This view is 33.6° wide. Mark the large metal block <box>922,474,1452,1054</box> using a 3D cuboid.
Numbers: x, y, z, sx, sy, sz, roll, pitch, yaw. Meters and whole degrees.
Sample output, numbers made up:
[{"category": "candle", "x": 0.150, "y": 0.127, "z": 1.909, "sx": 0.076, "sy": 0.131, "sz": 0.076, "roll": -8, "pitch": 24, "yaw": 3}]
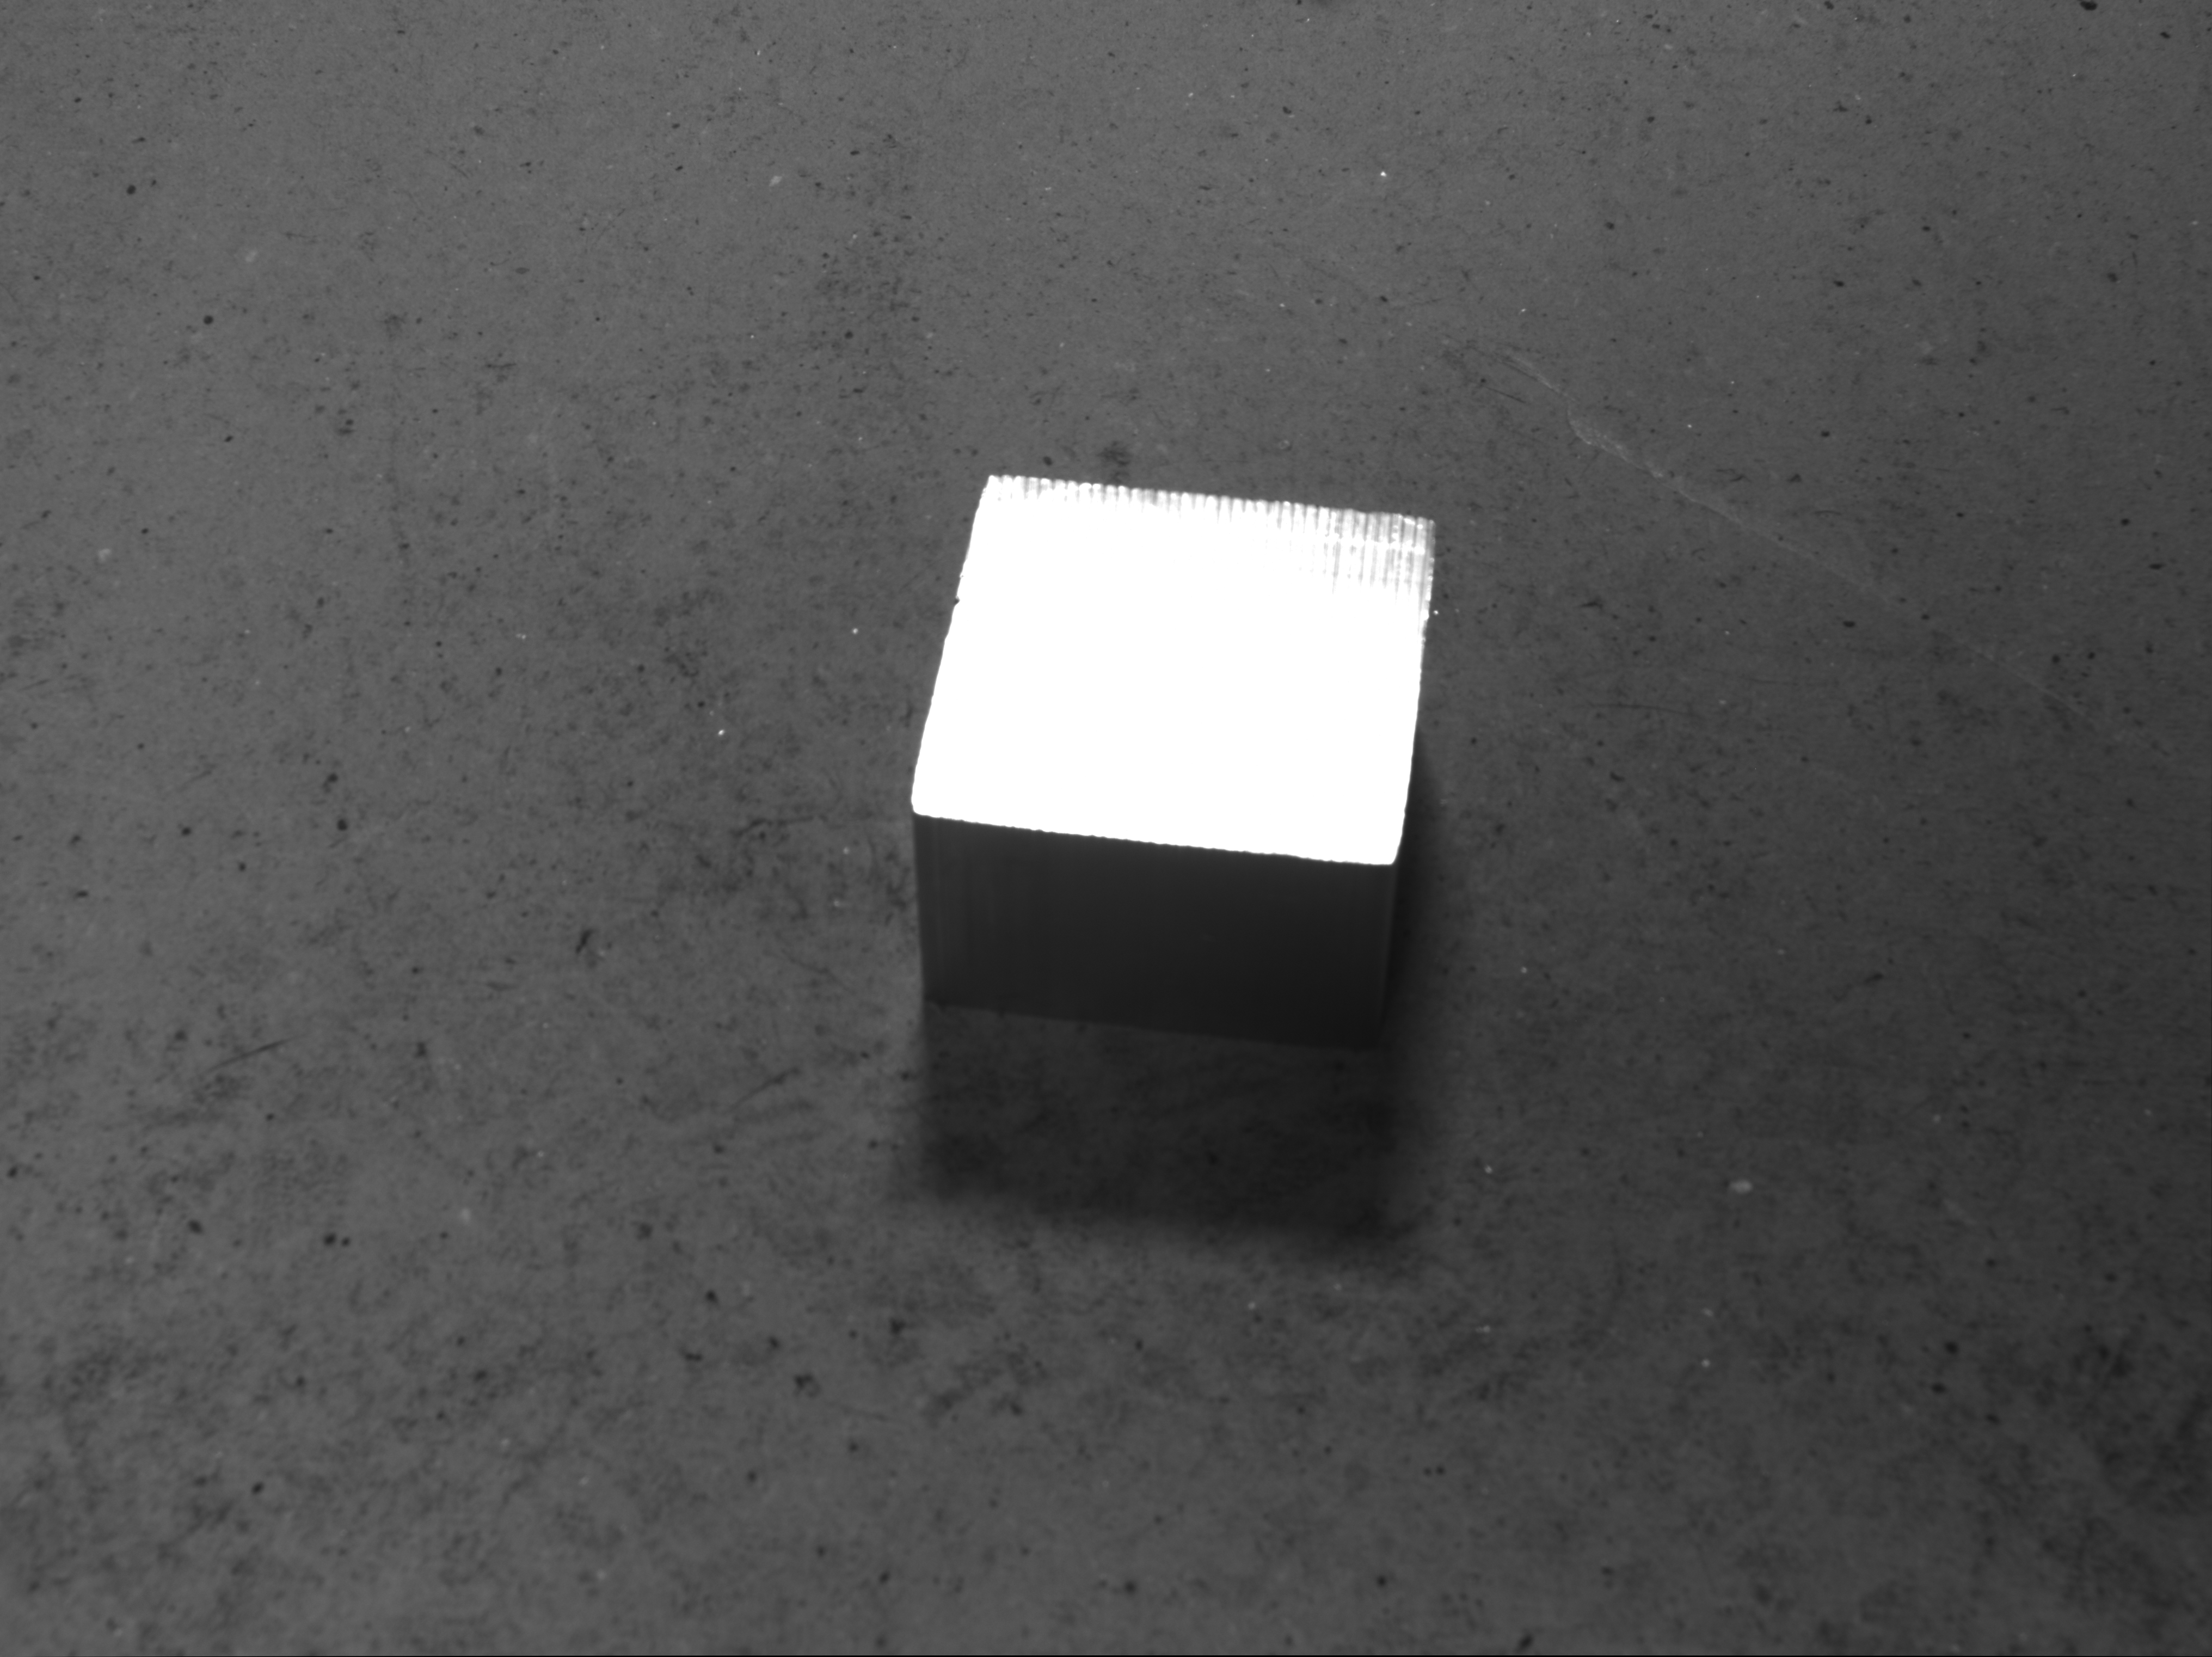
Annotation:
[{"category": "large metal block", "x": 0.015, "y": -0.012, "z": 0.636, "sx": 0.080, "sy": 0.050, "sz": 0.080, "roll": 6, "pitch": 50, "yaw": 5}]
